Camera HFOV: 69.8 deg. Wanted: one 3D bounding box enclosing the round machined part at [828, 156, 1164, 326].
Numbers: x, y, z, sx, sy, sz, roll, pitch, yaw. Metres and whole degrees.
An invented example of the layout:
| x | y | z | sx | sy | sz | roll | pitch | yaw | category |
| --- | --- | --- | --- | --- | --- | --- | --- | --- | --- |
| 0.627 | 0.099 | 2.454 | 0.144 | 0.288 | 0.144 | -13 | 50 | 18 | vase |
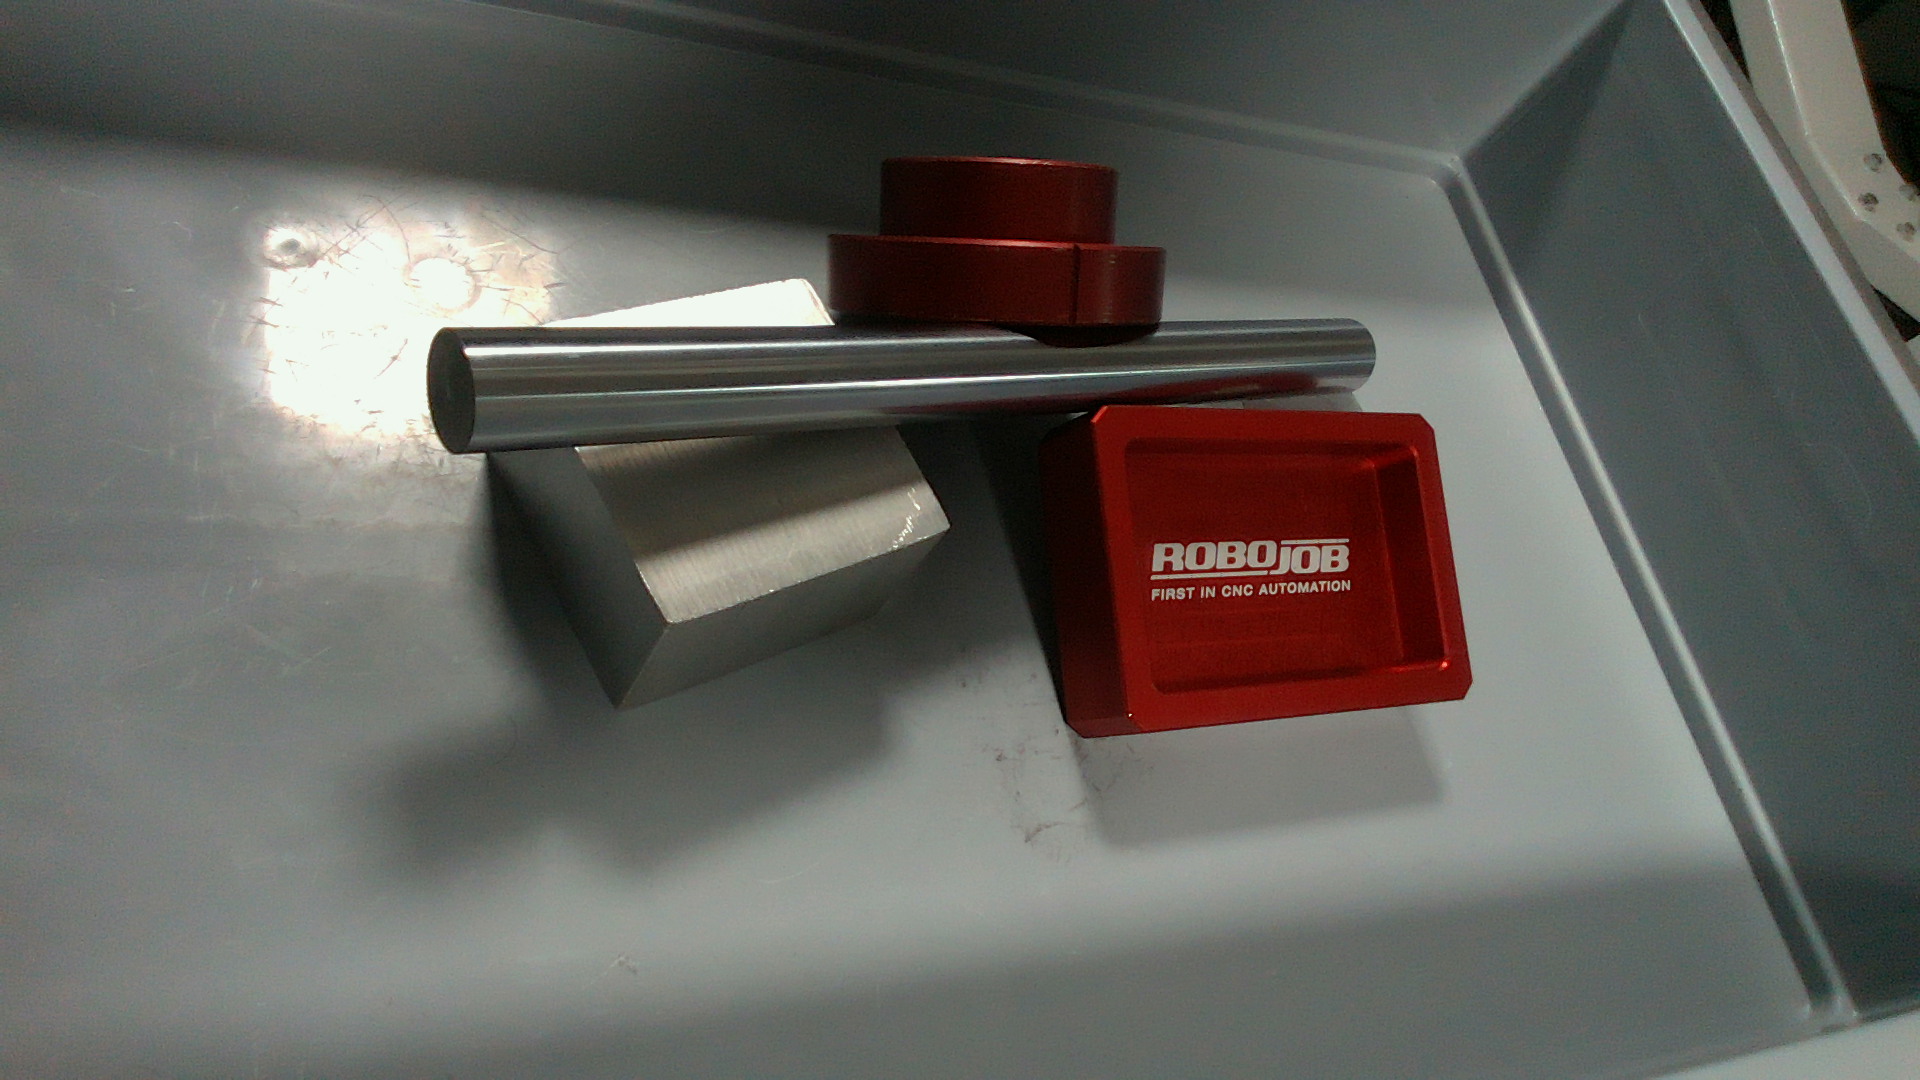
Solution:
| x | y | z | sx | sy | sz | roll | pitch | yaw | category |
| --- | --- | --- | --- | --- | --- | --- | --- | --- | --- |
| 0.010 | -0.087 | 0.398 | 0.098 | 0.098 | 0.042 | -5 | 104 | -30 | round machined part |

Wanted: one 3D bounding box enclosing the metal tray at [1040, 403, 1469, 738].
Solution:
| x | y | z | sx | sy | sz | roll | pitch | yaw | category |
| --- | --- | --- | --- | --- | --- | --- | --- | --- | --- |
| 0.090 | 0.008 | 0.411 | 0.130 | 0.030 | 0.090 | -1 | 82 | -29 | metal tray |

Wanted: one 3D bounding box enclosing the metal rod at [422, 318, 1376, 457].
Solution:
| x | y | z | sx | sy | sz | roll | pitch | yaw | category |
| --- | --- | --- | --- | --- | --- | --- | --- | --- | --- |
| 0.014 | -0.045 | 0.366 | 0.301 | 0.025 | 0.025 | -8 | 65 | -40 | metal rod |

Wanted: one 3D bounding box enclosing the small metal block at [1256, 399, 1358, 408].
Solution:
| x | y | z | sx | sy | sz | roll | pitch | yaw | category |
| --- | --- | --- | --- | --- | --- | --- | --- | --- | --- |
| 0.107 | -0.045 | 0.473 | 0.050 | 0.025 | 0.050 | -12 | 68 | -33 | small metal block |

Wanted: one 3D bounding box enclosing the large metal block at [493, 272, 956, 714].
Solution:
| x | y | z | sx | sy | sz | roll | pitch | yaw | category |
| --- | --- | --- | --- | --- | --- | --- | --- | --- | --- |
| -0.062 | -0.014 | 0.347 | 0.080 | 0.050 | 0.080 | -19 | 72 | -35 | large metal block |
